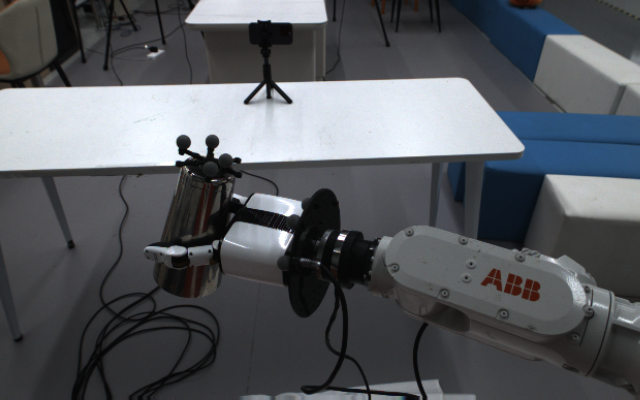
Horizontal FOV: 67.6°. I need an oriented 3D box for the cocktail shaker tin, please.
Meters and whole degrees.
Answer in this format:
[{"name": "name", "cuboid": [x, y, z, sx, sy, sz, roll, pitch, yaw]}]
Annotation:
[{"name": "cocktail shaker tin", "cuboid": [-0.158, 0.031, 0.632, 0.093, 0.170, 0.093, 15, 27, -8]}]
